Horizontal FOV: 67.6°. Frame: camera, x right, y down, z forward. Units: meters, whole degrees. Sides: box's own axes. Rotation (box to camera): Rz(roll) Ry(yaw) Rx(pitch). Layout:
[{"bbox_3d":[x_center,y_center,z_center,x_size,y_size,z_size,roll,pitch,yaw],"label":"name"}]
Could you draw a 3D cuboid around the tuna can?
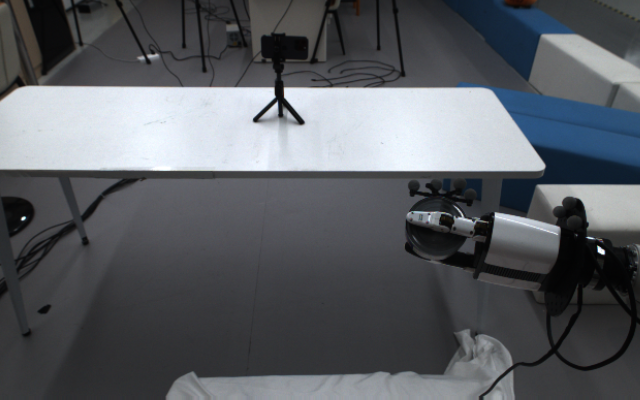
[{"bbox_3d":[0.164,0.036,0.678,0.085,0.034,0.085,-2,70,7],"label":"tuna can"}]
